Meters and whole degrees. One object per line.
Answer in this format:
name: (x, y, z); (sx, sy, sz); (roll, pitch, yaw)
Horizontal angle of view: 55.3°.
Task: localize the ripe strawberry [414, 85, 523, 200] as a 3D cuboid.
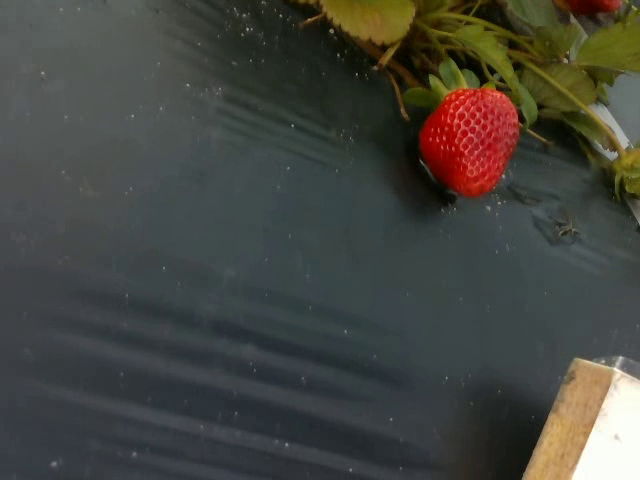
ripe strawberry: (0.052, -0.032, 0.204); (0.036, 0.040, 0.046); (10, 41, -4)
